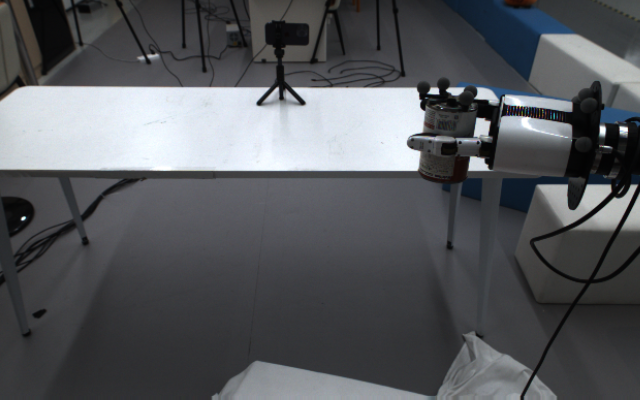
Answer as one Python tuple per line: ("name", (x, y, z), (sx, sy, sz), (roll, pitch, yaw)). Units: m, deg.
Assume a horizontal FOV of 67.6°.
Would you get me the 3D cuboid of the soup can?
("soup can", (0.172, -0.082, 0.652), (0.067, 0.101, 0.067), (1, 25, 0))
